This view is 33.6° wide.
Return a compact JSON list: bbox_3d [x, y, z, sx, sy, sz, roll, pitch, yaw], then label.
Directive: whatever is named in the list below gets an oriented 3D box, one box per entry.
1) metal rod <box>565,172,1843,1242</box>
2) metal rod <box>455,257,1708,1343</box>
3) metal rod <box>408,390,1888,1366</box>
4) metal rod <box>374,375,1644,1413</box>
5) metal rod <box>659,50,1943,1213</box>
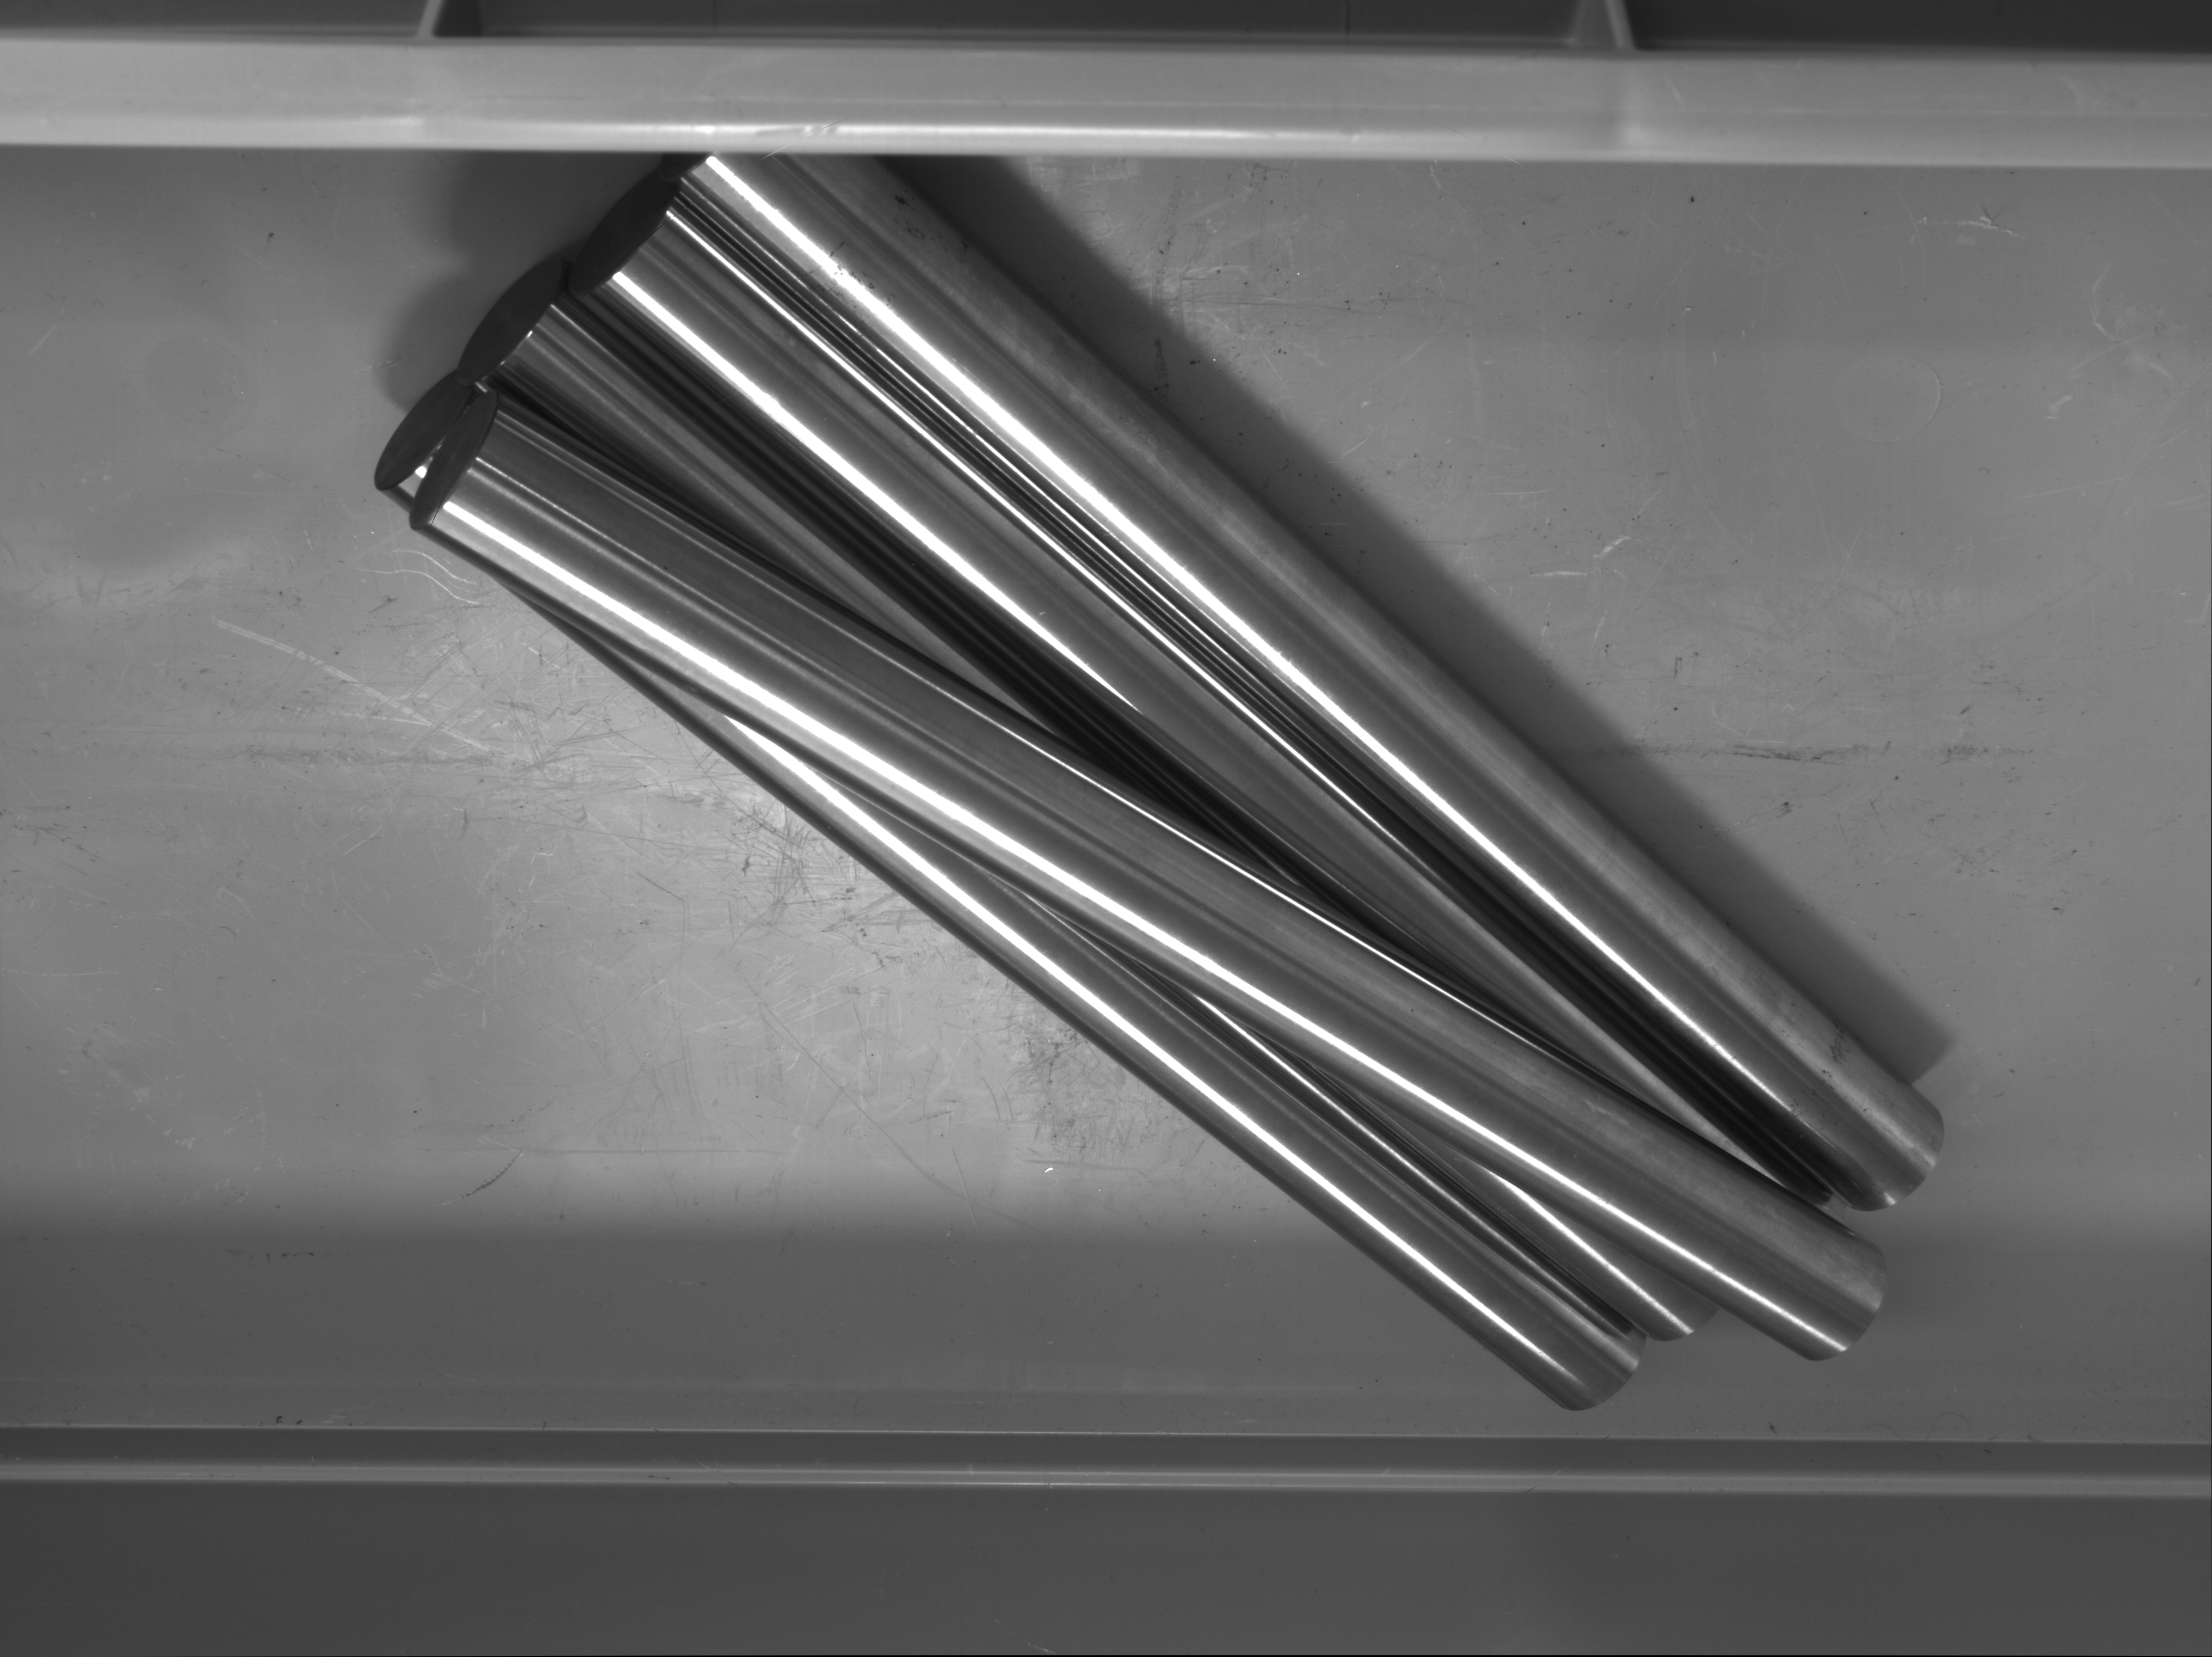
[{"bbox_3d":[0.028,-0.007,0.632,0.025,0.025,0.301,-36,122,26],"label":"metal rod"},{"bbox_3d":[0.010,0.005,0.642,0.025,0.025,0.301,-36,122,26],"label":"metal rod"},{"bbox_3d":[0.018,0.016,0.618,0.301,0.025,0.025,32,123,-24],"label":"metal rod"},{"bbox_3d":[-0.006,0.020,0.655,0.025,0.025,0.301,-36,122,26],"label":"metal rod"},{"bbox_3d":[0.044,-0.023,0.619,0.025,0.025,0.301,-36,122,26],"label":"metal rod"}]
